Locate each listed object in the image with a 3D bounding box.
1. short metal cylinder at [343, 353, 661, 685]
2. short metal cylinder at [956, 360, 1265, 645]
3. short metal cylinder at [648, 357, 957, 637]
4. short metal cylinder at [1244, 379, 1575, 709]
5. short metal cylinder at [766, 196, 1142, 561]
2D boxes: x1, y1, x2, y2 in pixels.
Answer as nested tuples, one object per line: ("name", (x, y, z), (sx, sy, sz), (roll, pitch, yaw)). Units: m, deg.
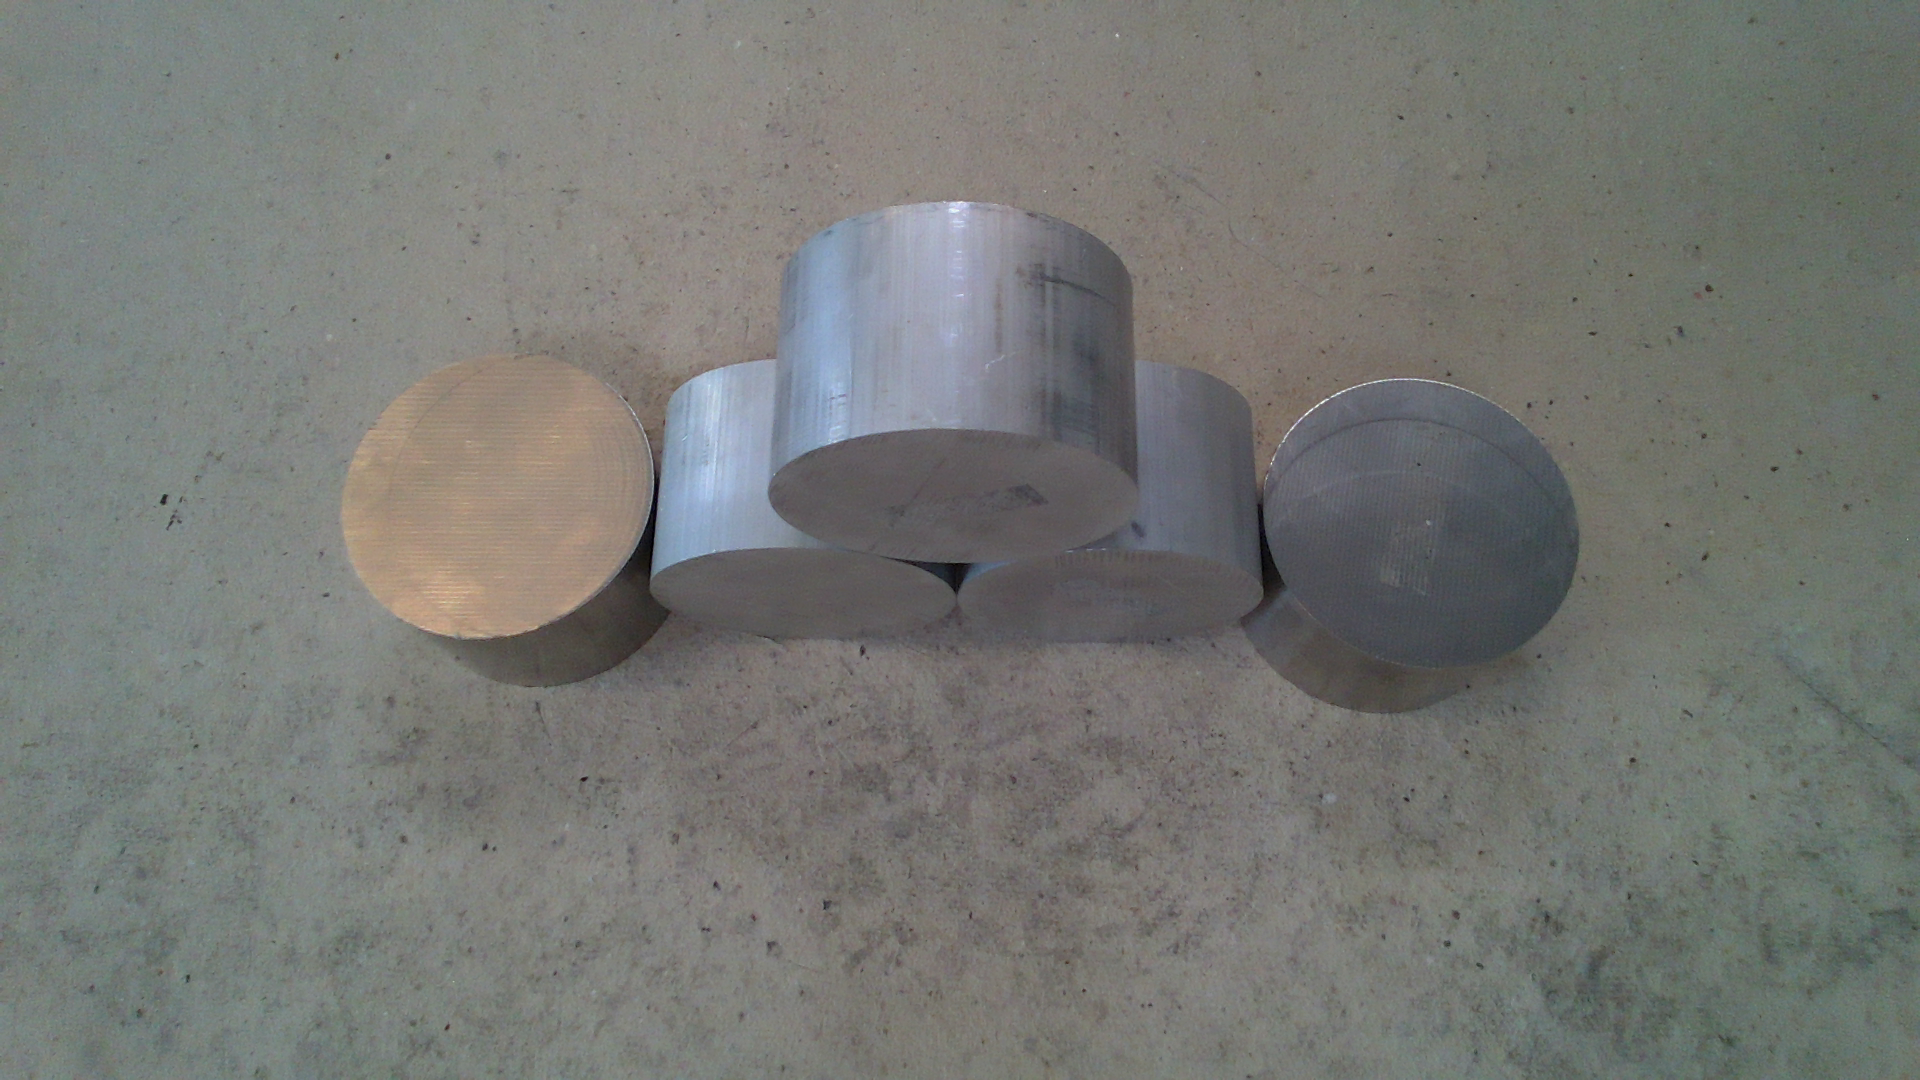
("short metal cylinder", (-0.121, -0.005, 0.383), (0.080, 0.050, 0.080), (0, 70, 0))
("short metal cylinder", (0.039, -0.007, 0.369), (0.080, 0.080, 0.050), (0, 69, 0))
("short metal cylinder", (-0.041, -0.008, 0.368), (0.080, 0.080, 0.050), (0, 70, 0))
("short metal cylinder", (0.119, 0.003, 0.380), (0.080, 0.050, 0.080), (0, 70, 0))
("short metal cylinder", (-0.001, -0.032, 0.303), (0.080, 0.080, 0.050), (1, 71, 0))
